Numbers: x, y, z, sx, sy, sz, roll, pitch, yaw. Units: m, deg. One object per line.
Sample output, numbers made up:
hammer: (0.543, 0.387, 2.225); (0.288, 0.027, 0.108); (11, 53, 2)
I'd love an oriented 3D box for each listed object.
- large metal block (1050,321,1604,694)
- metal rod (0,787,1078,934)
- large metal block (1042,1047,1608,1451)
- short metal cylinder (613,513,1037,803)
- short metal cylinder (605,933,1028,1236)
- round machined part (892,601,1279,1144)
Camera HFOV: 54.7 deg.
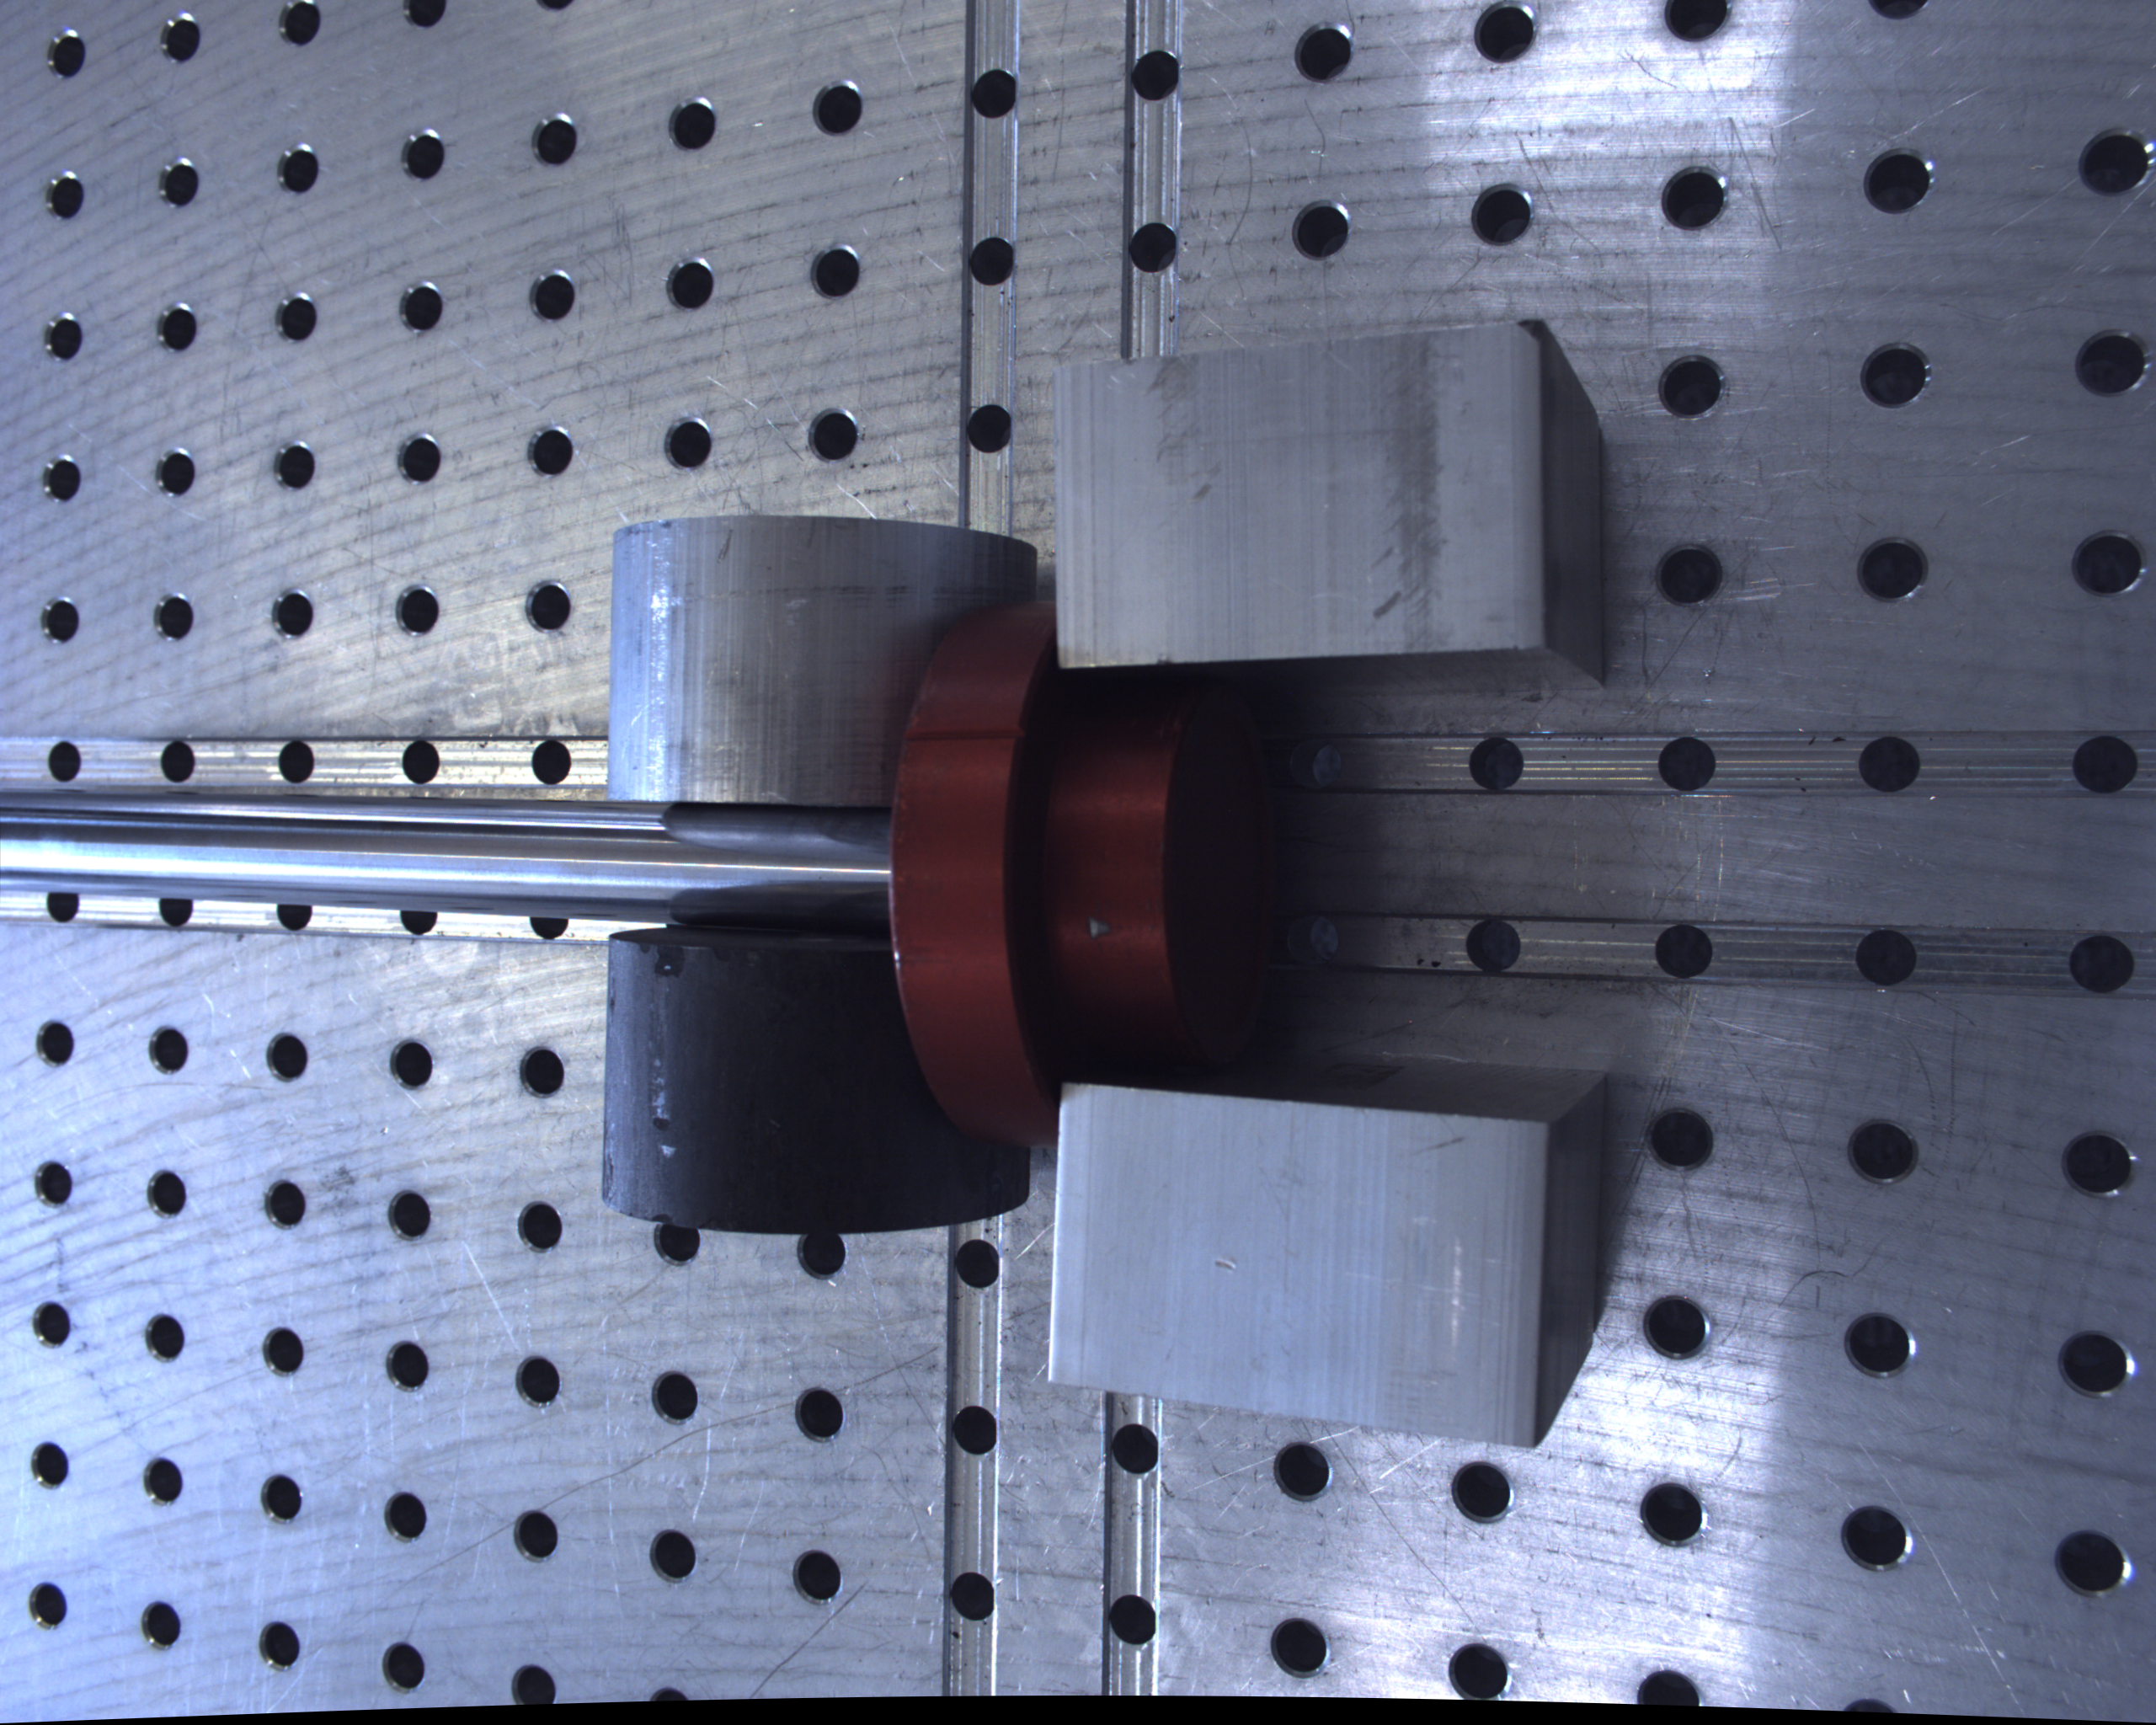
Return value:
large metal block: (0.047, -0.058, 0.367); (0.080, 0.080, 0.050); (0, 90, 20)
metal rod: (-0.121, -0.001, 0.443); (0.301, 0.025, 0.025); (2, 91, 24)
large metal block: (0.047, 0.062, 0.367); (0.080, 0.080, 0.050); (3, 91, 20)
short metal cylinder: (-0.048, -0.036, 0.400); (0.080, 0.080, 0.050); (1, 91, 20)
short metal cylinder: (-0.049, 0.039, 0.400); (0.080, 0.080, 0.050); (2, 91, 20)
round machined part: (0.007, 0.002, 0.371); (0.042, 0.098, 0.097); (1, 90, 20)
